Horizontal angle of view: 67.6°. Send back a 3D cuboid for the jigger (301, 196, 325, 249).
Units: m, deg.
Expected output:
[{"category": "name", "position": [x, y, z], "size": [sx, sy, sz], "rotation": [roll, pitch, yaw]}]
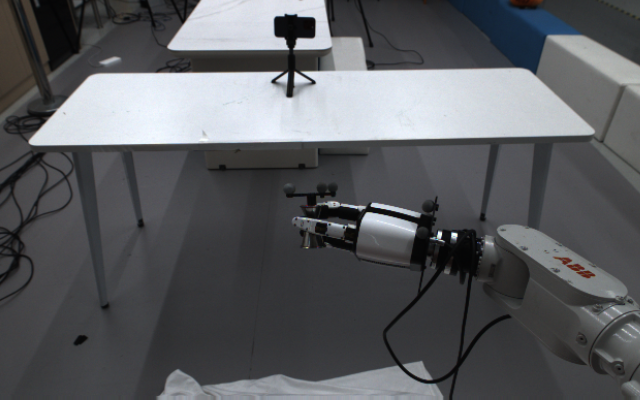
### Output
[{"category": "jigger", "position": [-0.013, 0.042, 0.779], "size": [0.043, 0.071, 0.043], "rotation": [-2, 3, 0]}]
